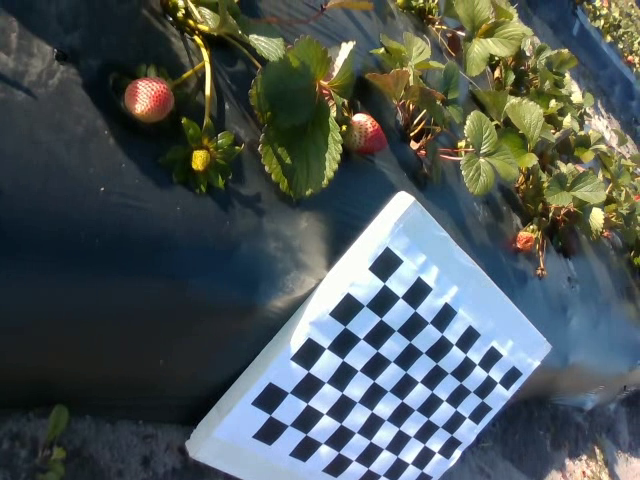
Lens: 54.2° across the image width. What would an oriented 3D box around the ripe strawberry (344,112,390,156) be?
[{"bbox_3d":[0.048,-0.103,0.612,0.063,0.045,0.043,19,14,-38],"label":"ripe strawberry"}]
